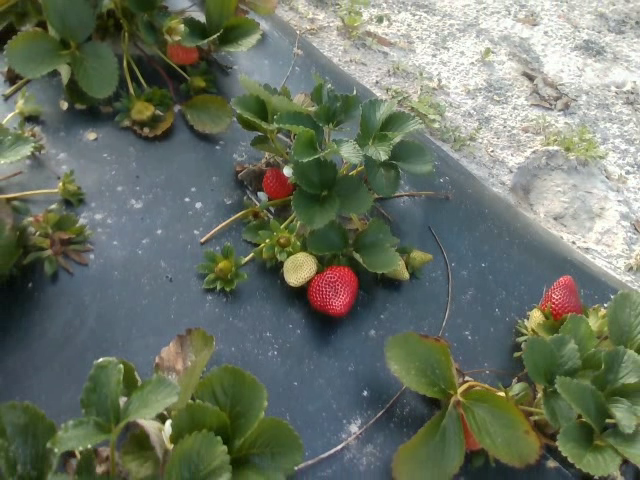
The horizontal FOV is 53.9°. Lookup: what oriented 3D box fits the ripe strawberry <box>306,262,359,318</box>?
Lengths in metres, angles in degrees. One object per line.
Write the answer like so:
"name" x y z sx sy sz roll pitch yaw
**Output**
"ripe strawberry" 0.011 0.050 0.555 0.051 0.048 0.055 -27 23 12
